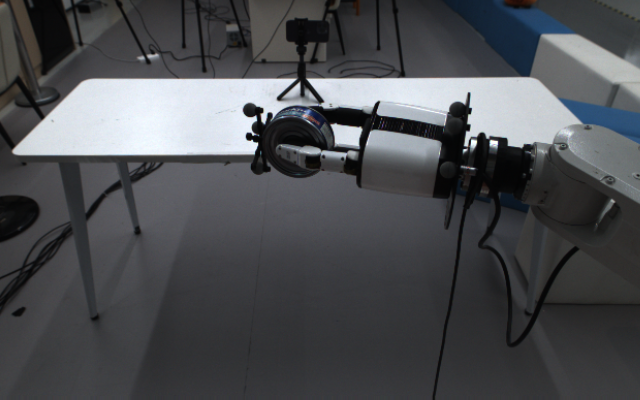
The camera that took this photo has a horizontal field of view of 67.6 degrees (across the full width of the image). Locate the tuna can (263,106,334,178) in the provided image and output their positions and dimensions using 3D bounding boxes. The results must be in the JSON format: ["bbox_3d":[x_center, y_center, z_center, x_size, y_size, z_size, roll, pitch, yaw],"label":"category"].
[{"bbox_3d":[-0.025,-0.073,0.600,0.085,0.085,0.034,9,33,10],"label":"tuna can"}]
